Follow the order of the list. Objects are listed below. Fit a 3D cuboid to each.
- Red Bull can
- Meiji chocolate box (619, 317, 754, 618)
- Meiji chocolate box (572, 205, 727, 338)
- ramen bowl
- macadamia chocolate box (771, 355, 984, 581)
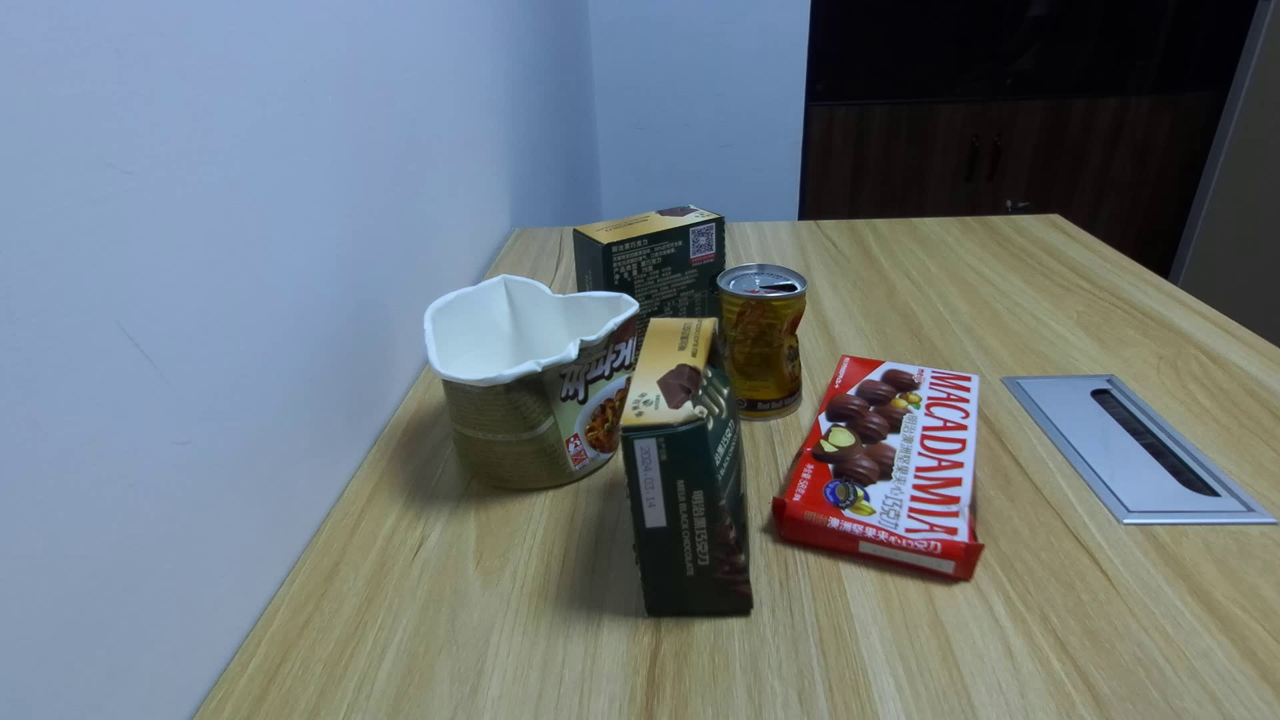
[{"bbox_3d":[0.082,-0.013,0.487,0.072,0.092,0.072,-1,28,1],"label":"Red Bull can"},{"bbox_3d":[0.025,0.049,0.362,0.051,0.117,0.117,-6,26,10],"label":"Meiji chocolate box"},{"bbox_3d":[0.010,-0.059,0.565,0.113,0.111,0.058,-17,30,-26],"label":"Meiji chocolate box"},{"bbox_3d":[-0.073,0.015,0.444,0.113,0.097,0.134,12,31,23],"label":"ramen bowl"},{"bbox_3d":[0.152,0.054,0.429,0.105,0.028,0.183,10,31,21],"label":"macadamia chocolate box"}]
